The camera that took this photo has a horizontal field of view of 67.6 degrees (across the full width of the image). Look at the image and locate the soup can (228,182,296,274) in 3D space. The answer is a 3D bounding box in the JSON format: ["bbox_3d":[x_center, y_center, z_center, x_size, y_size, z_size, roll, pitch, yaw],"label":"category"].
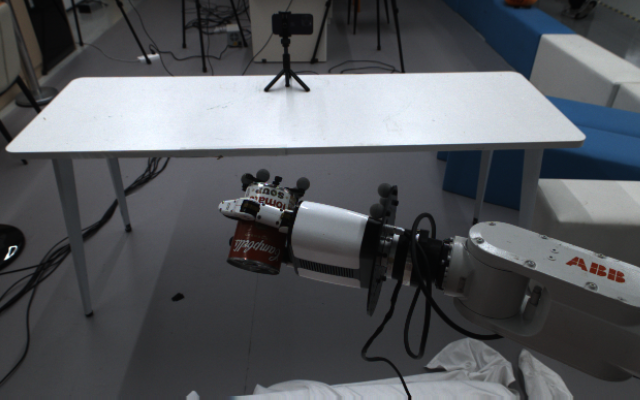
[{"bbox_3d":[-0.072,0.038,0.612,0.067,0.067,0.101,9,71,9],"label":"soup can"}]
